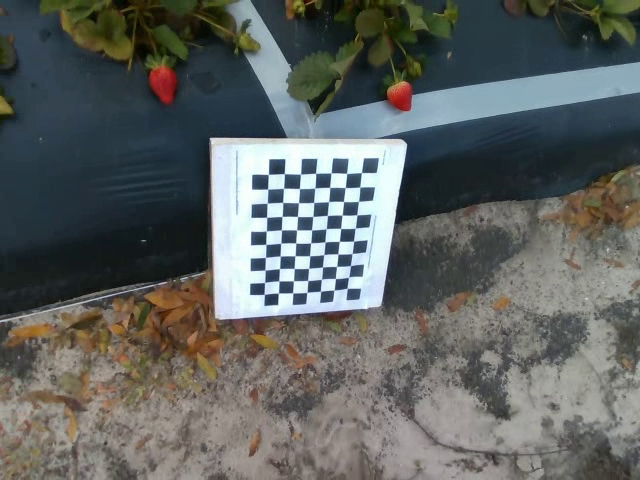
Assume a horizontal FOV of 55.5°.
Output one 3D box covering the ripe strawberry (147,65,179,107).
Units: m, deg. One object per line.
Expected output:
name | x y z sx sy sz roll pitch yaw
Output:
ripe strawberry | -0.171 -0.182 0.711 0.036 0.046 0.040 -11 -15 0

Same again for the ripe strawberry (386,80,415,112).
ripe strawberry | 0.112 -0.200 0.830 0.039 0.047 0.041 -29 25 10
